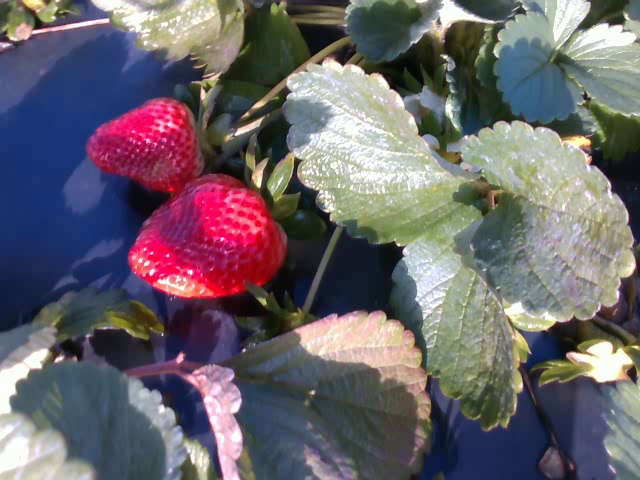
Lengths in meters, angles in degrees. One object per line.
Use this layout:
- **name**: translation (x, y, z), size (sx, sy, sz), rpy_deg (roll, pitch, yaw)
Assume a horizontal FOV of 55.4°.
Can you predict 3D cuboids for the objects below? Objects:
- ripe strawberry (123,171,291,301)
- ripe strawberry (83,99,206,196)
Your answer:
- **ripe strawberry**: translation (-0.042, 0.002, 0.209), size (0.057, 0.046, 0.052), rpy_deg (-27, 35, -34)
- **ripe strawberry**: translation (-0.071, -0.037, 0.235), size (0.043, 0.037, 0.051), rpy_deg (12, 34, 42)
